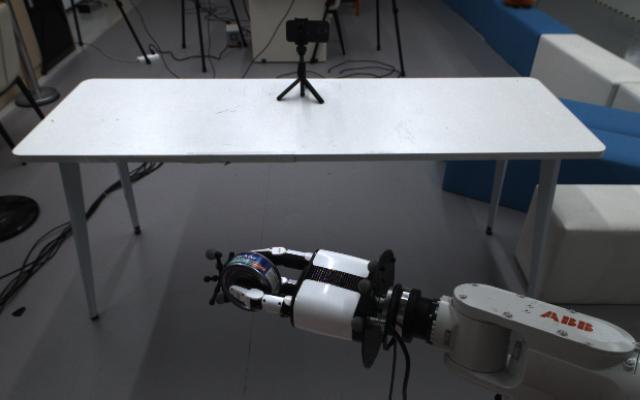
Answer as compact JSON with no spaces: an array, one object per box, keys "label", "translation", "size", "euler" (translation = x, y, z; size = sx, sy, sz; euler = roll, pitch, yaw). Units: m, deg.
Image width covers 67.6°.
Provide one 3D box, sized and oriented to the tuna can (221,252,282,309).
[{"label":"tuna can","translation":[-0.099,0.118,0.707],"size":[0.085,0.085,0.034],"euler":[12,28,14]}]
